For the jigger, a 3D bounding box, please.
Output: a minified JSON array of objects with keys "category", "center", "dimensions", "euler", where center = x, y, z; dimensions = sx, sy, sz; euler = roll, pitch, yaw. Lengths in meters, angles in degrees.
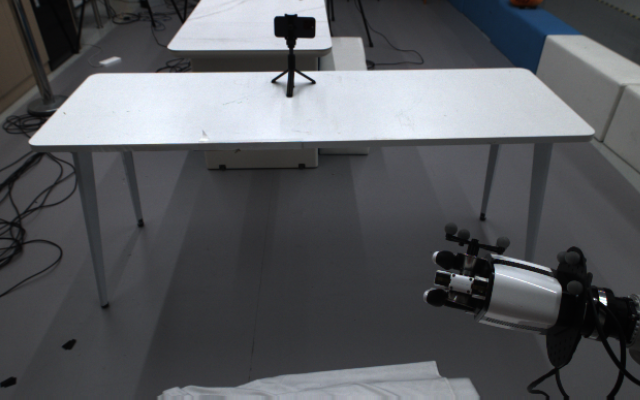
[{"category":"jigger","center":[0.205,0.110,0.671],"dimensions":[0.043,0.071,0.043],"euler":[16,-7,2]}]
